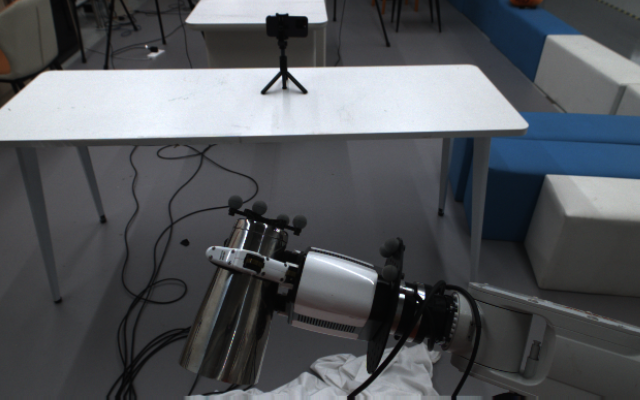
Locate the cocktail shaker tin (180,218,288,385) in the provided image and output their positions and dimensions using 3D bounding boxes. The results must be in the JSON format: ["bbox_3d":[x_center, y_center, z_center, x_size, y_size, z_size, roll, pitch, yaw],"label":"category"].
[{"bbox_3d":[-0.088,0.111,0.561,0.093,0.093,0.170,13,80,16],"label":"cocktail shaker tin"}]
